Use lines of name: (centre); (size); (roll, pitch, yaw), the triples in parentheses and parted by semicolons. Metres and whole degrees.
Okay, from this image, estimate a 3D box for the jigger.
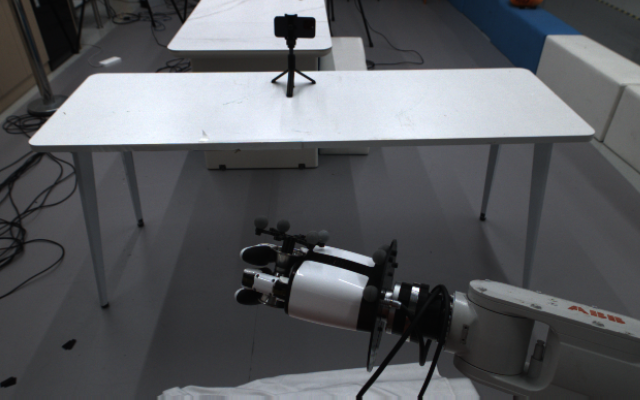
jigger: (-0.045, 0.097, 0.610); (0.043, 0.071, 0.043); (14, 1, 0)
